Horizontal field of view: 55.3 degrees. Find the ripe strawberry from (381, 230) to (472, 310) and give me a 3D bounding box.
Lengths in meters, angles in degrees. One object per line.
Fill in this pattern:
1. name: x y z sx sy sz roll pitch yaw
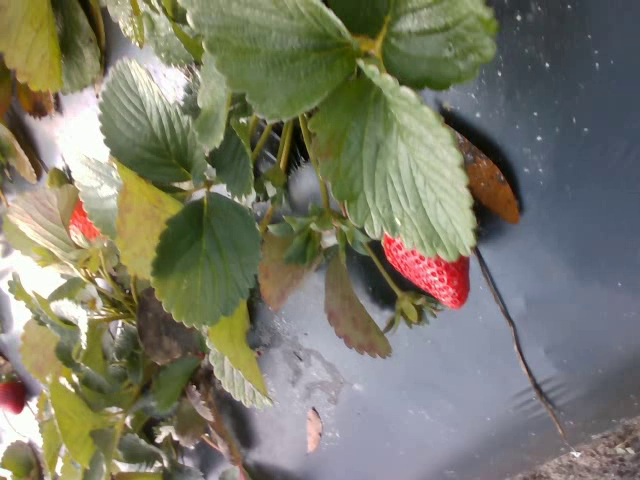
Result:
1. ripe strawberry: 0.052 0.009 0.269 0.049 0.053 0.050 -1 -34 -30
